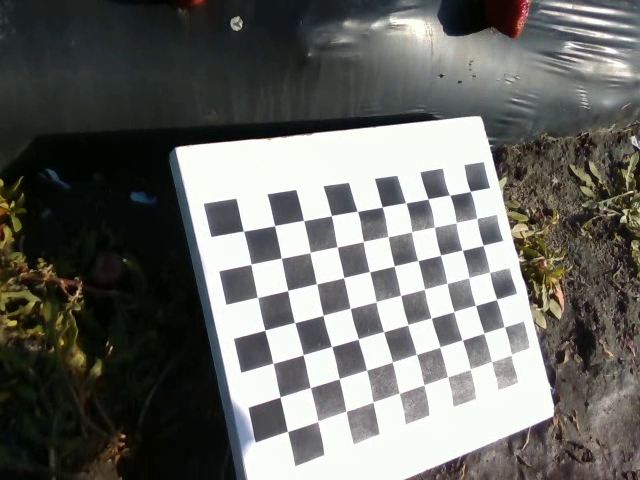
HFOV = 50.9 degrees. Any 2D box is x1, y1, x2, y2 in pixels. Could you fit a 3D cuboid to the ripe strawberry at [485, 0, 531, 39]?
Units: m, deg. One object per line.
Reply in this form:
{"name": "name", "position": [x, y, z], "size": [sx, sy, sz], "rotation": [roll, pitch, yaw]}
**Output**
{"name": "ripe strawberry", "position": [0.157, -0.188, 0.563], "size": [0.042, 0.059, 0.042], "rotation": [15, -28, -30]}
